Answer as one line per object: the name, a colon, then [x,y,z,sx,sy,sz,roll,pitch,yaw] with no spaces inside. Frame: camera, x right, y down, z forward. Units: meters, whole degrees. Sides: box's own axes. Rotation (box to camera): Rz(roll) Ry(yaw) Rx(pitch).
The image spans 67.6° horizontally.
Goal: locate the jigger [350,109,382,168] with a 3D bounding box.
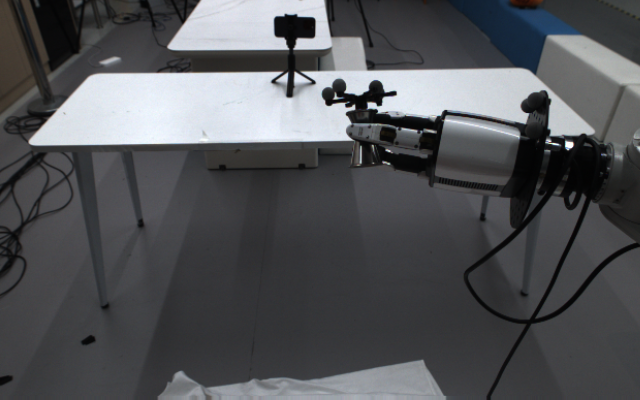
jigger: [0.054,-0.076,0.600,0.043,0.071,0.043,-4,1,0]
